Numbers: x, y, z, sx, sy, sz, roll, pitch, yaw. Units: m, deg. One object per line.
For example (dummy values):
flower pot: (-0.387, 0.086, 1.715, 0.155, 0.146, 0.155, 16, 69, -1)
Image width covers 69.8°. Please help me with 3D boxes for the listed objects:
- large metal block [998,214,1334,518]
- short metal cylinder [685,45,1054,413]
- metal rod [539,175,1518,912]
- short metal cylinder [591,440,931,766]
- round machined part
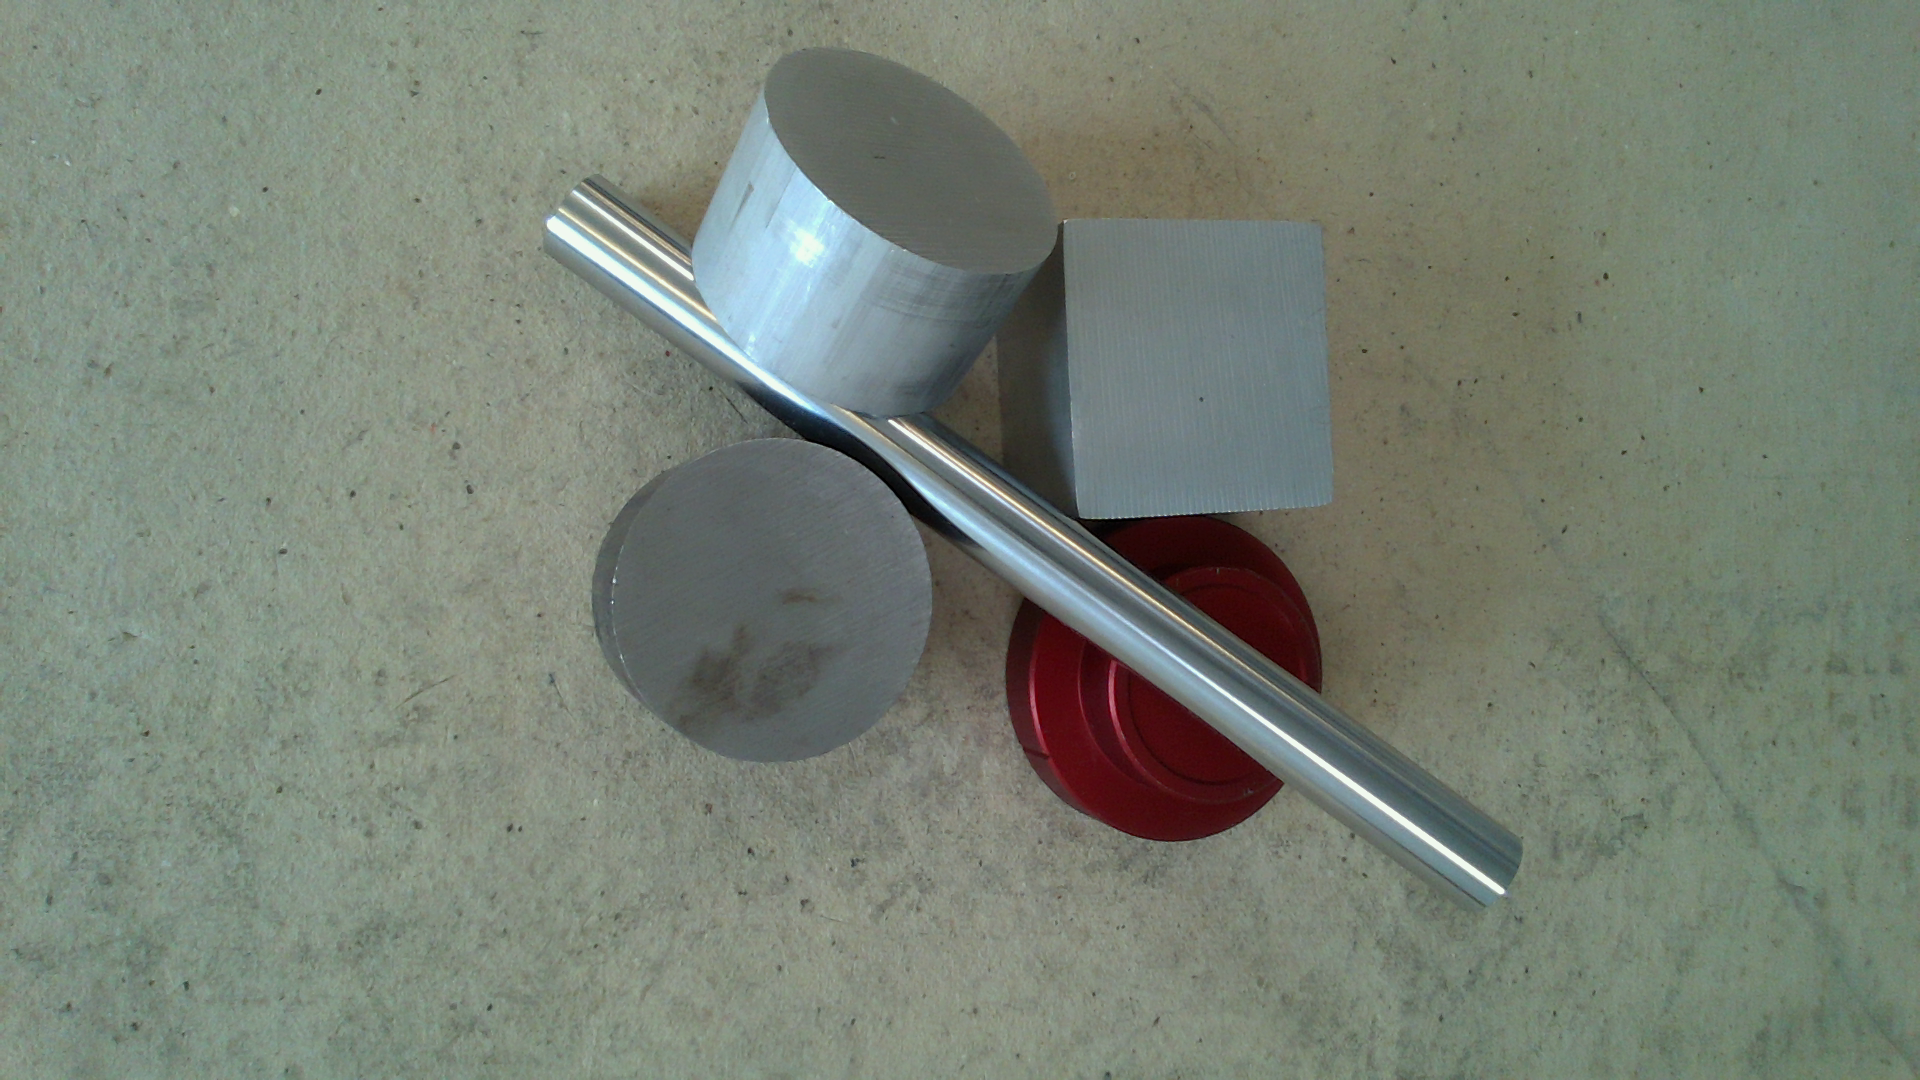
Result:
large metal block: (0.058, -0.048, 0.399, 0.080, 0.050, 0.080, -3, 91, -20)
short metal cylinder: (-0.023, -0.079, 0.352, 0.080, 0.050, 0.080, 20, 43, -20)
metal rod: (0.021, 0.003, 0.365, 0.300, 0.025, 0.025, 36, 78, -3)
short metal cylinder: (-0.054, 0.015, 0.362, 0.080, 0.050, 0.080, 0, 90, -20)
round machined part: (0.066, 0.042, 0.408, 0.098, 0.042, 0.098, 0, 90, -20)
